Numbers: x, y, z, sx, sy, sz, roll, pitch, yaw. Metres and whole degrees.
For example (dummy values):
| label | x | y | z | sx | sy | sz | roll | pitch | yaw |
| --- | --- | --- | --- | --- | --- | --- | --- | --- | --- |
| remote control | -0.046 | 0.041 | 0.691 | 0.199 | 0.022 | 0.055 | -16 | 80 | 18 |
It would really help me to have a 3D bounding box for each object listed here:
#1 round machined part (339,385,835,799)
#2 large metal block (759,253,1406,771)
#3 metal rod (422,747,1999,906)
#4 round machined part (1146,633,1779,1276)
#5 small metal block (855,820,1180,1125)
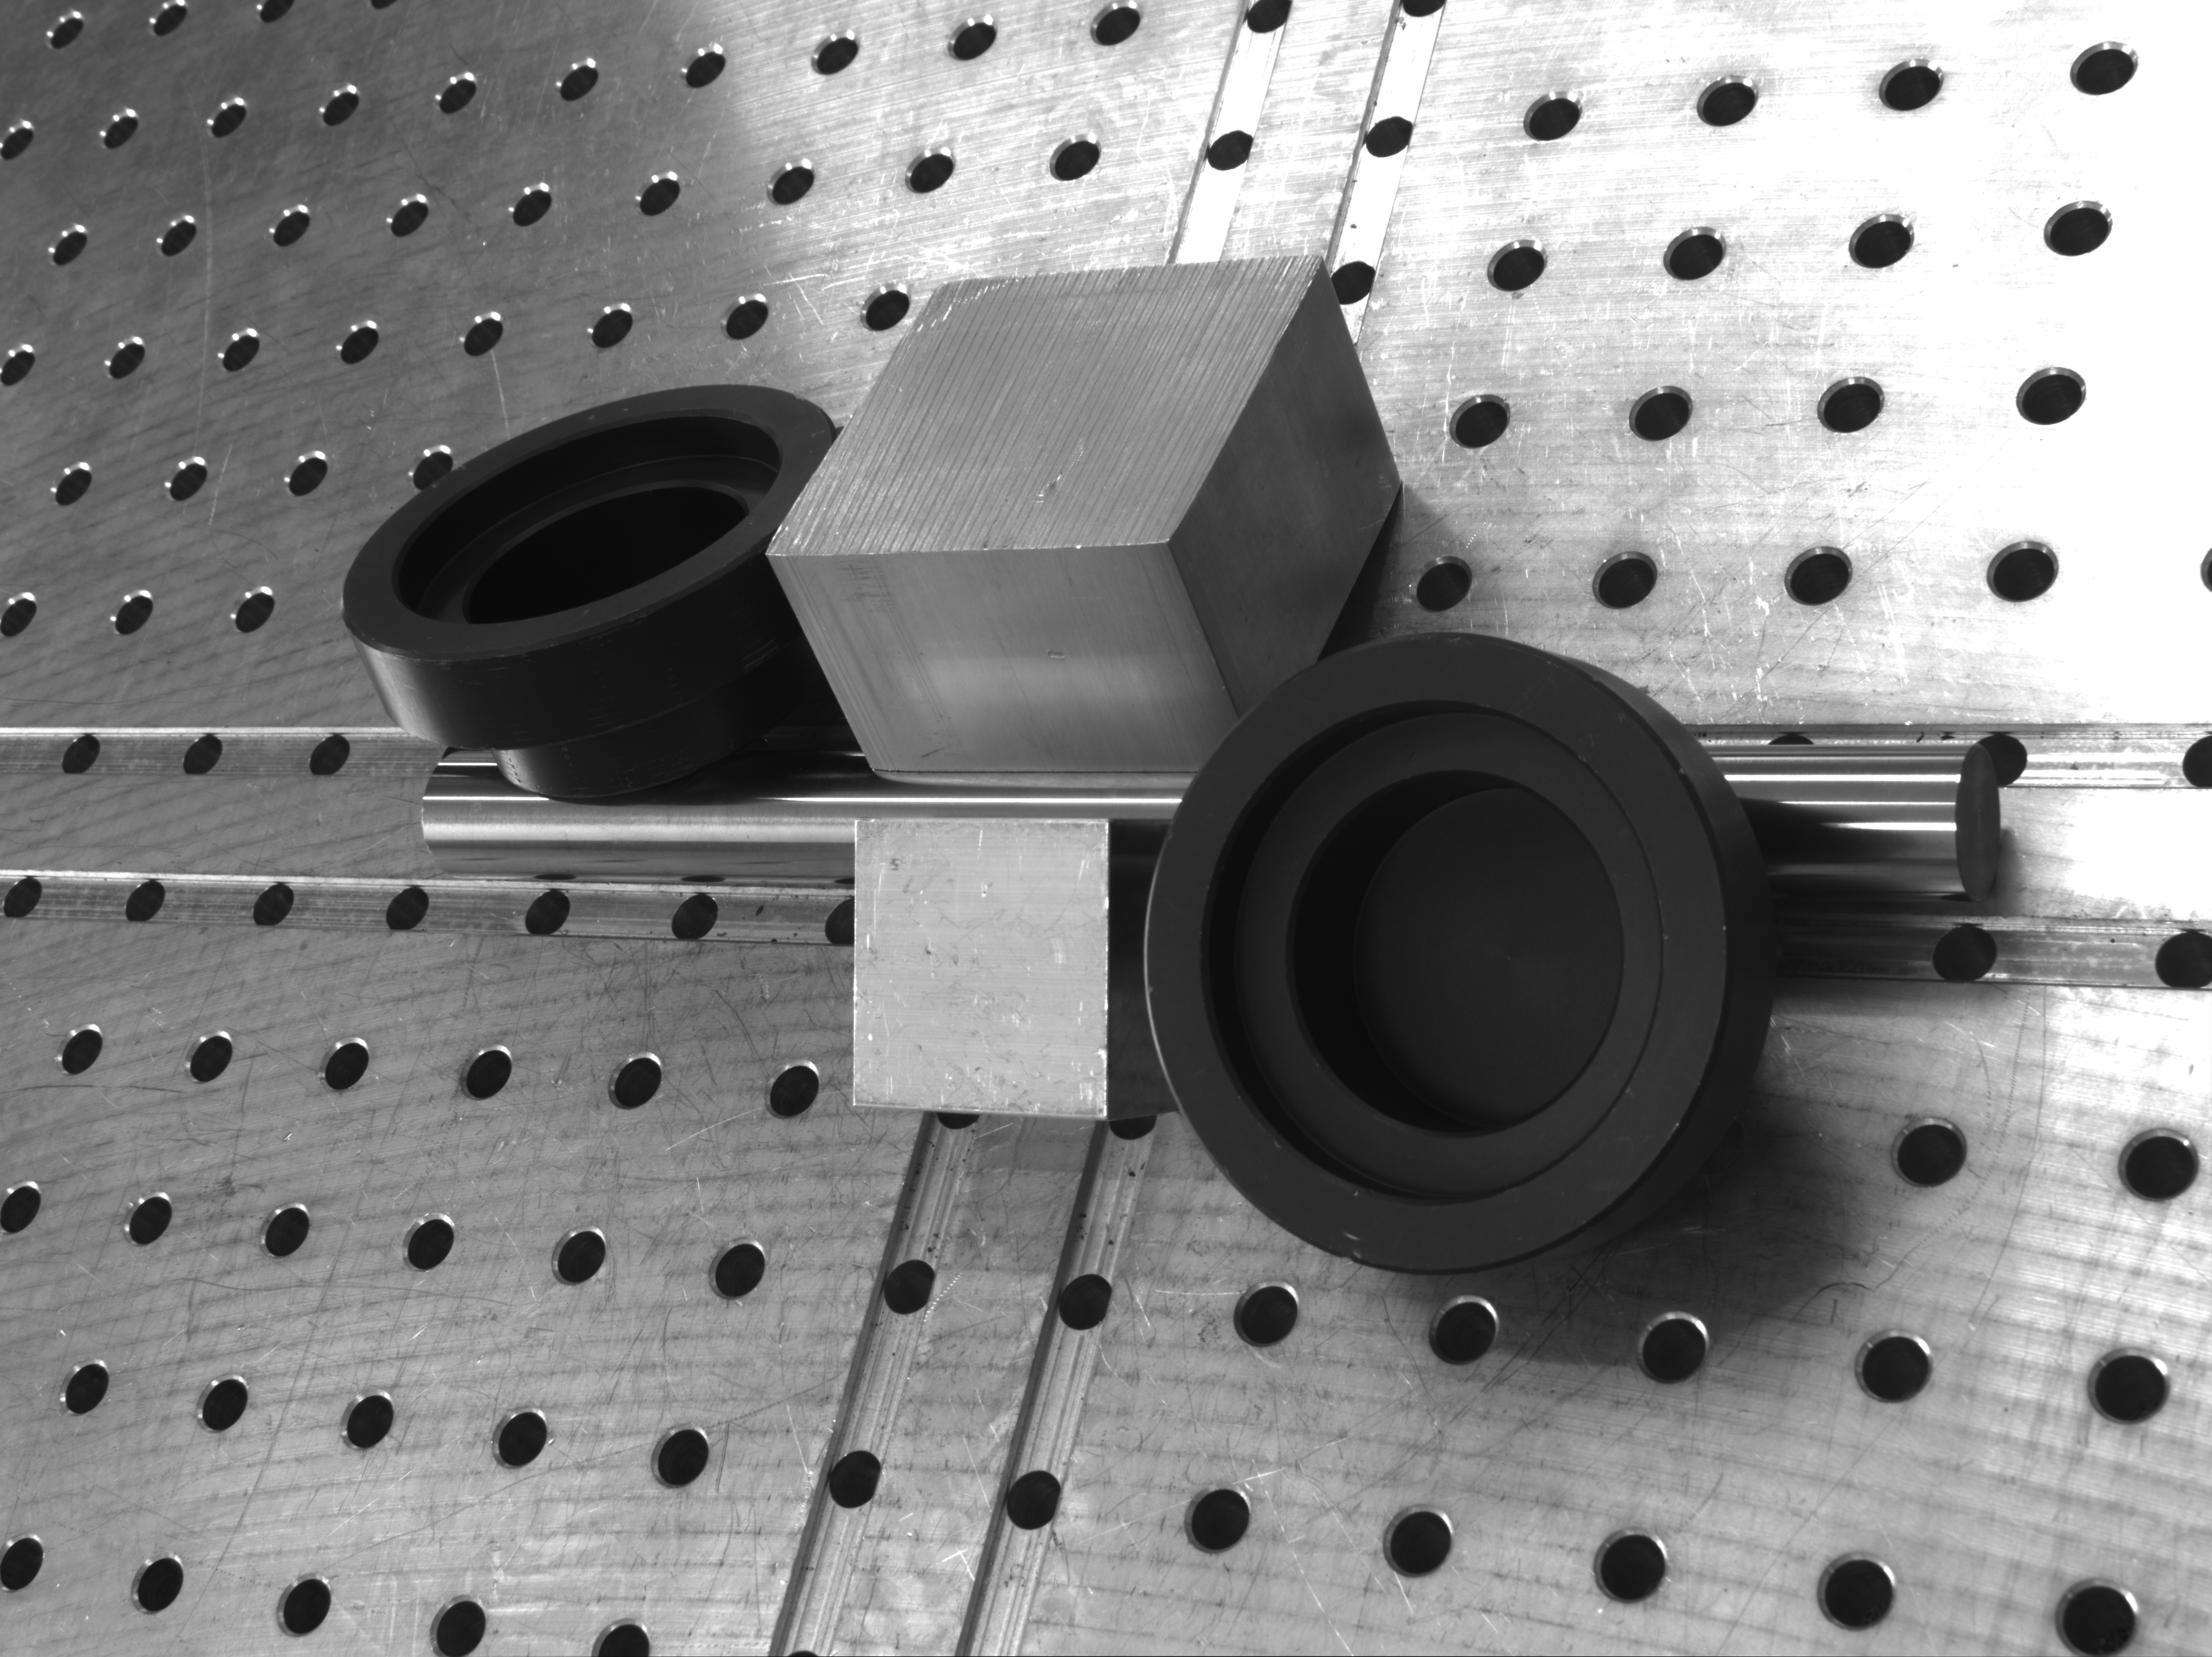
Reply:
| label | x | y | z | sx | sy | sz | roll | pitch | yaw |
| --- | --- | --- | --- | --- | --- | --- | --- | --- | --- |
| round machined part | -0.091 | -0.042 | 0.697 | 0.098 | 0.042 | 0.098 | -14 | 31 | 9 |
| large metal block | -0.002 | -0.056 | 0.654 | 0.080 | 0.050 | 0.080 | 1 | 44 | 29 |
| metal rod | 0.005 | -0.001 | 0.648 | 0.299 | 0.025 | 0.025 | 0 | 62 | 29 |
| round machined part | 0.059 | 0.020 | 0.578 | 0.098 | 0.042 | 0.098 | -2 | 86 | 29 |
| small metal block | -0.015 | 0.024 | 0.630 | 0.050 | 0.025 | 0.050 | 1 | 91 | 29 |
